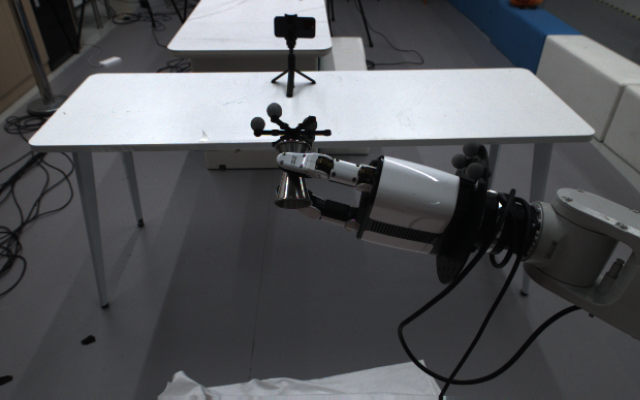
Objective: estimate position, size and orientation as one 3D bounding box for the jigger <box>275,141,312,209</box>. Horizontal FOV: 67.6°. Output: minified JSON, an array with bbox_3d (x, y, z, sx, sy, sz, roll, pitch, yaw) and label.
[{"bbox_3d":[-0.029,-0.029,0.540,0.043,0.043,0.071,0,75,-3],"label":"jigger"}]
